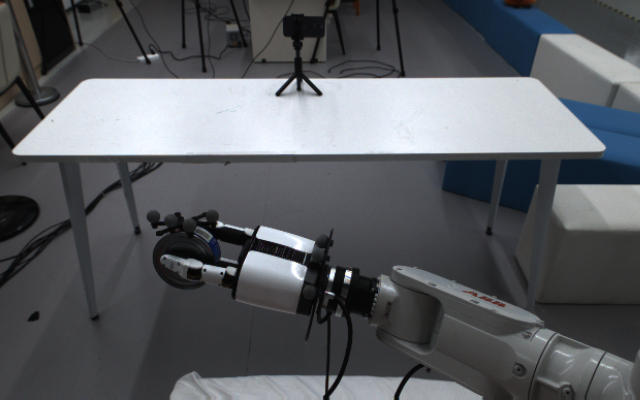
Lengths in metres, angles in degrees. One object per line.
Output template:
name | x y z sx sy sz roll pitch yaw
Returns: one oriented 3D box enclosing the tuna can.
tuna can | -0.175 0.079 0.660 0.085 0.085 0.034 4 17 2
